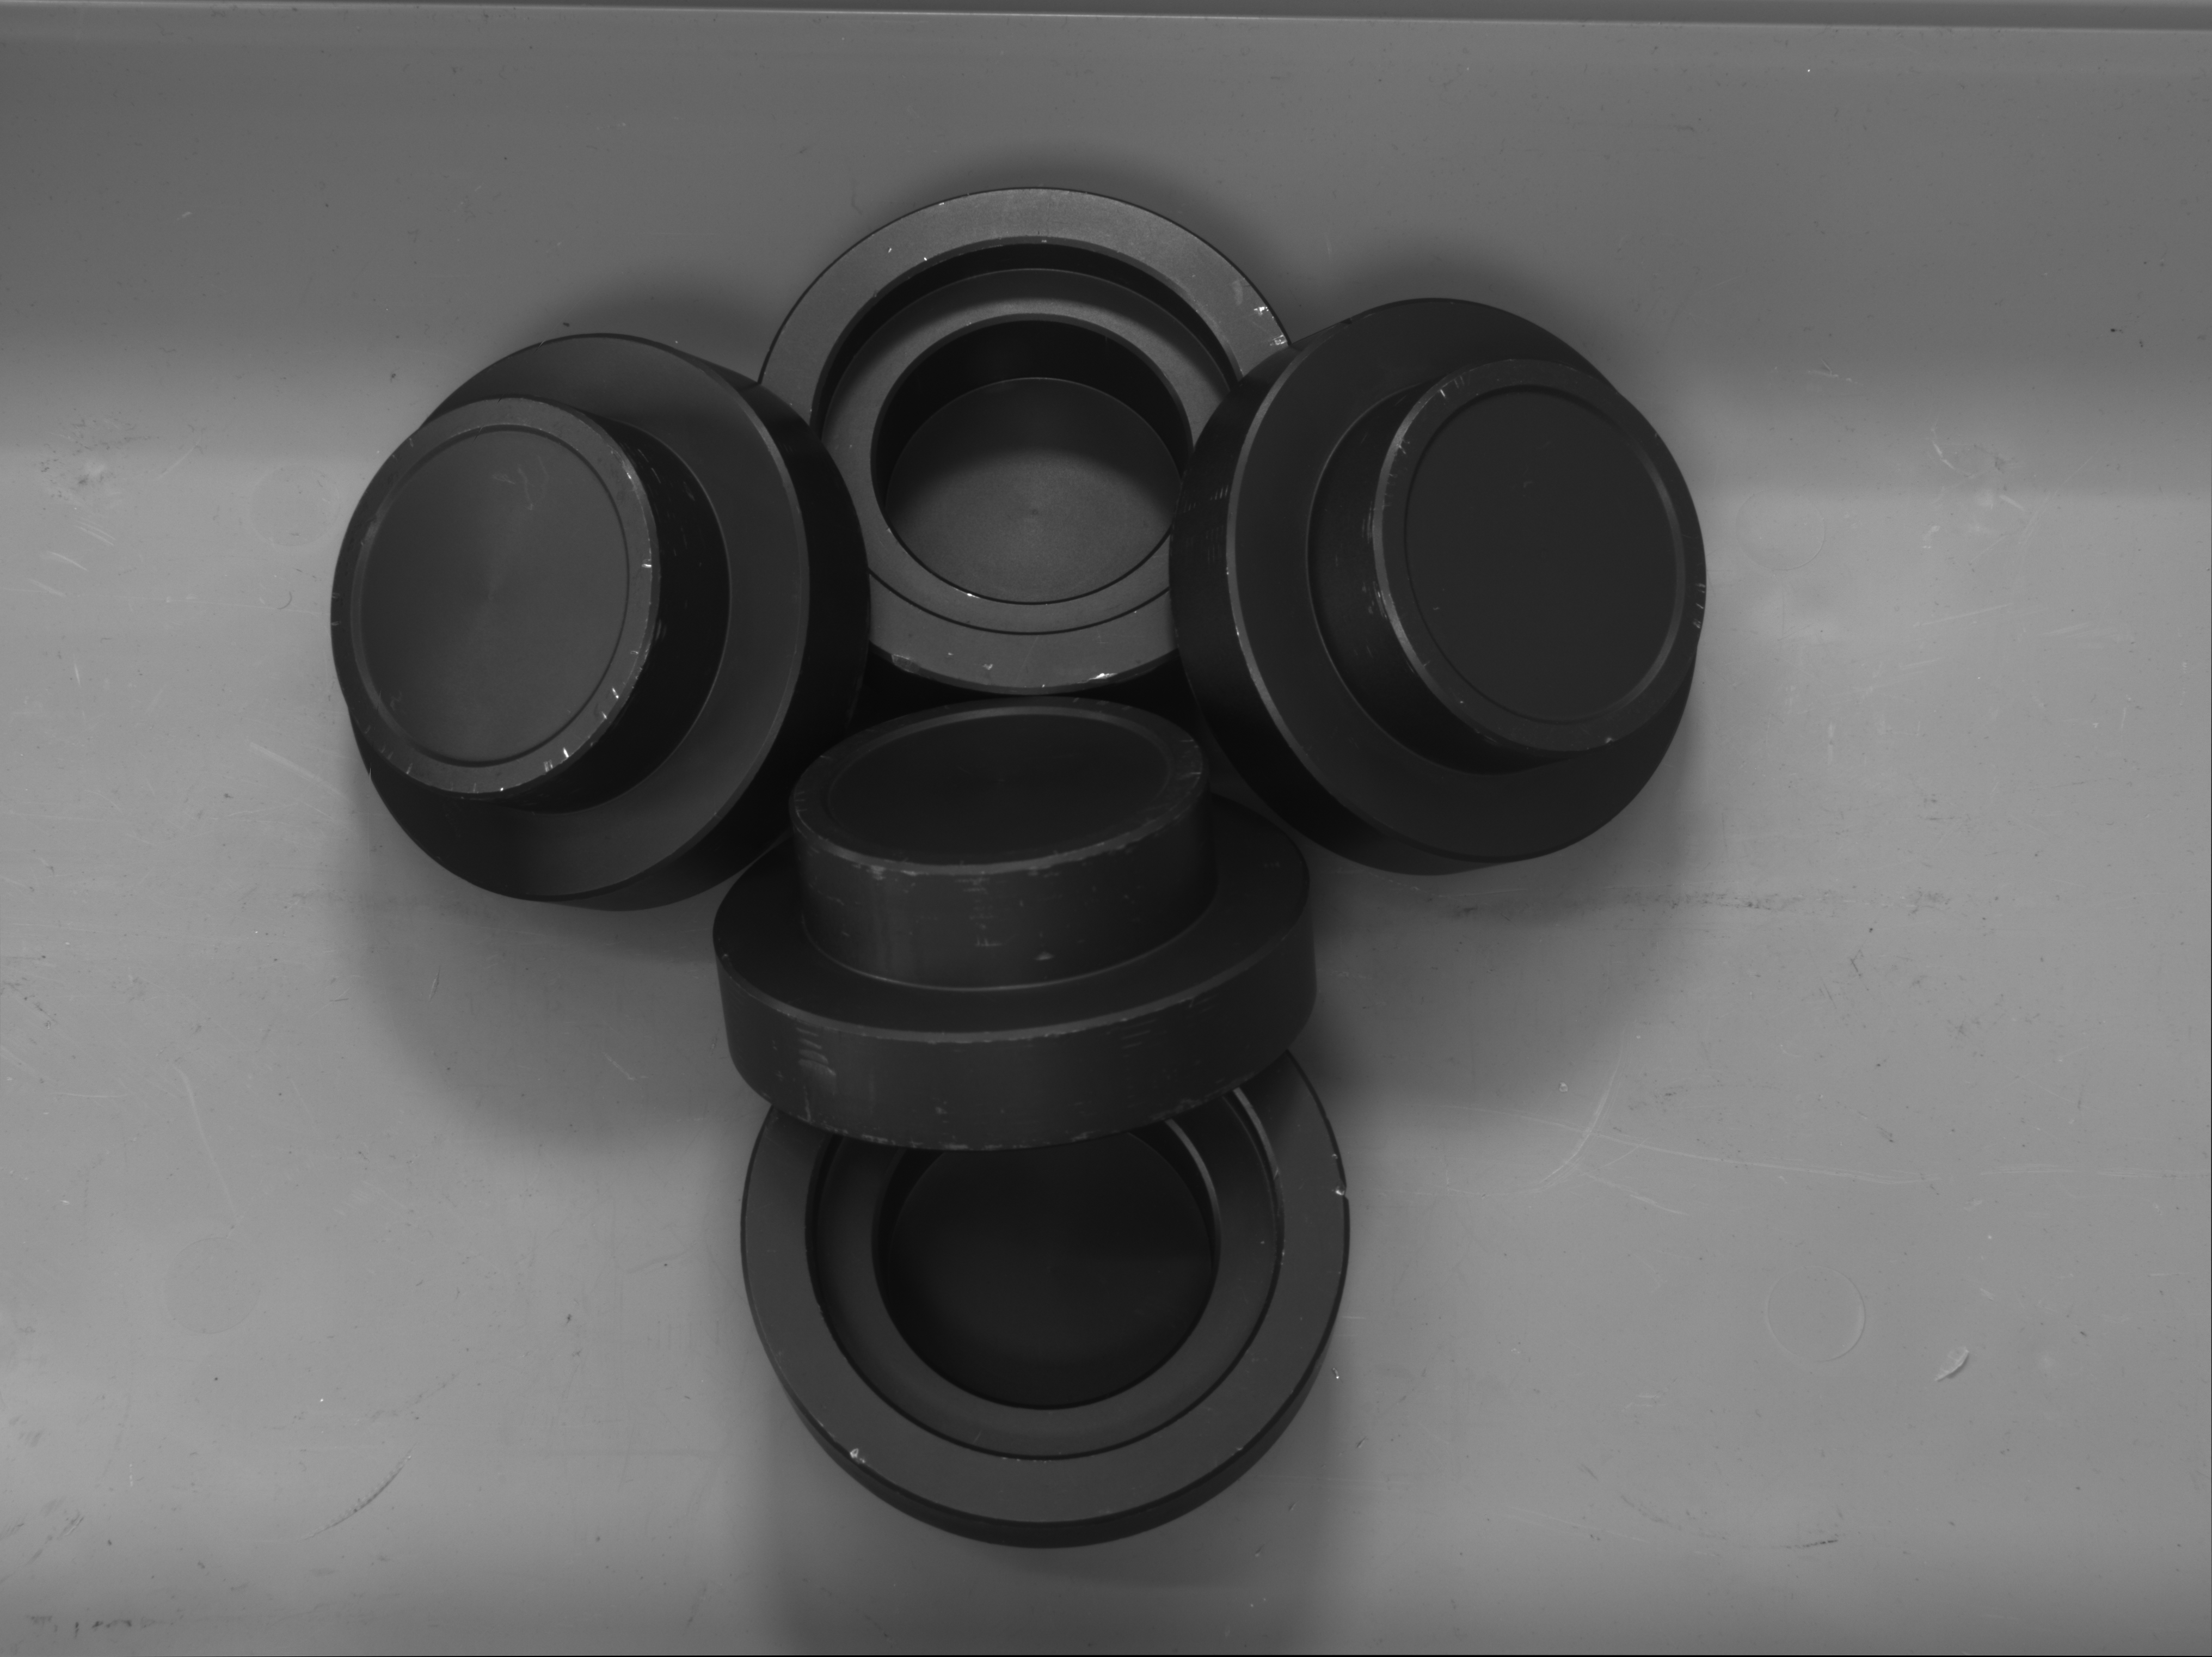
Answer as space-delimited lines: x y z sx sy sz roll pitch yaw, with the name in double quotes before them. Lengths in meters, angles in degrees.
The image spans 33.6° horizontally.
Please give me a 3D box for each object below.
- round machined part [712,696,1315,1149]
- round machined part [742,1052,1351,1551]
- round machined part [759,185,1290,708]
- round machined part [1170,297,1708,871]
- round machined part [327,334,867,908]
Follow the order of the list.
"round machined part" -0.016 0.010 0.600 0.098 0.098 0.042 -6 114 -2
"round machined part" -0.010 0.071 0.608 0.098 0.042 0.098 0 70 0
"round machined part" -0.013 -0.062 0.656 0.098 0.042 0.098 0 70 0
"round machined part" 0.063 -0.043 0.626 0.098 0.042 0.098 5 81 -29
"round machined part" -0.093 -0.036 0.624 0.098 0.042 0.098 -4 82 27
